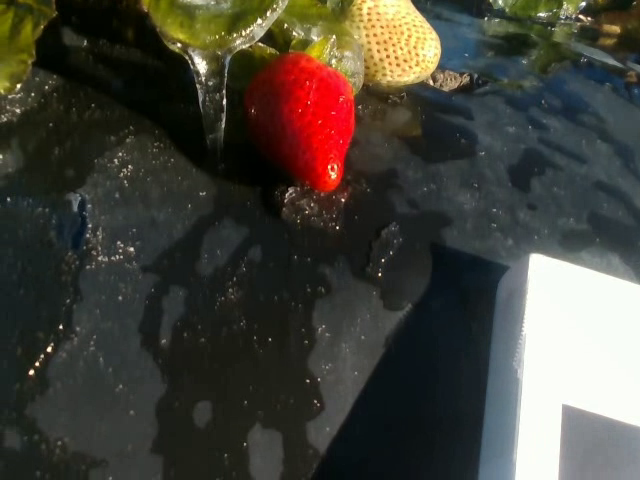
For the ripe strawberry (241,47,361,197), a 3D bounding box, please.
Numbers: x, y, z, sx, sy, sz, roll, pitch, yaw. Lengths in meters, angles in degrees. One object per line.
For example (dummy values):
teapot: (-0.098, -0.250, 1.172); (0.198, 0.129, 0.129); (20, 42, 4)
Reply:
ripe strawberry: (0.000, -0.039, 0.193); (0.041, 0.052, 0.040); (3, -36, -14)
